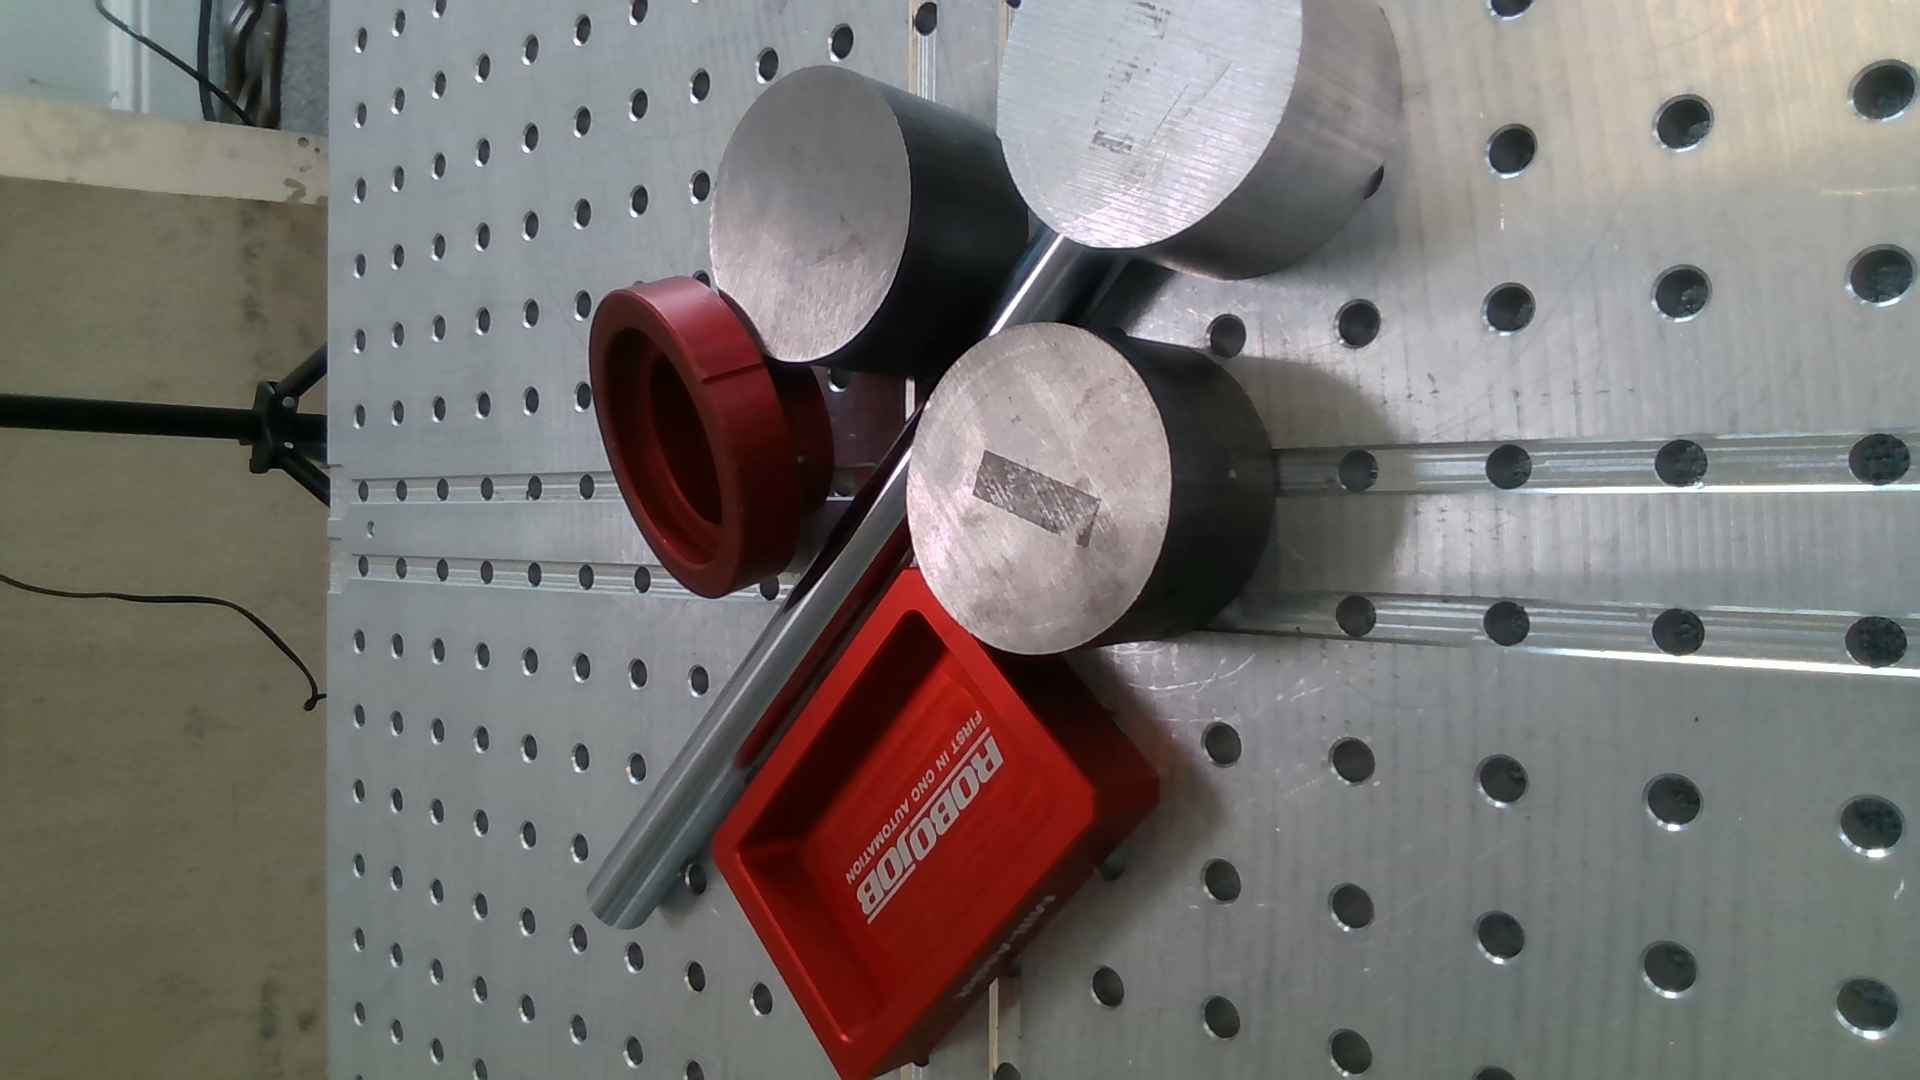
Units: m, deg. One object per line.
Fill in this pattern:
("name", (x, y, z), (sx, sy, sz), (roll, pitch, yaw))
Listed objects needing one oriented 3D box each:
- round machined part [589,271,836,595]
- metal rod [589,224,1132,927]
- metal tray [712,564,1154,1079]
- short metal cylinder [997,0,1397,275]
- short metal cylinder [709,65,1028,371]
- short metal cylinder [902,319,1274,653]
("round machined part", (-0.075, -0.036, 0.432), (0.098, 0.042, 0.098), (33, 133, 43))
("metal rod", (-0.043, 0.022, 0.431), (0.025, 0.025, 0.301), (52, 121, 27))
("metal tray", (-0.014, 0.081, 0.402), (0.090, 0.030, 0.130), (52, 121, 28))
("short metal cylinder", (0.056, -0.107, 0.329), (0.080, 0.050, 0.080), (0, 91, 40))
("short metal cylinder", (-0.027, -0.090, 0.399), (0.080, 0.050, 0.080), (0, 91, 40))
("short metal cylinder", (0.032, -0.013, 0.350), (0.080, 0.050, 0.080), (0, 91, 40))
